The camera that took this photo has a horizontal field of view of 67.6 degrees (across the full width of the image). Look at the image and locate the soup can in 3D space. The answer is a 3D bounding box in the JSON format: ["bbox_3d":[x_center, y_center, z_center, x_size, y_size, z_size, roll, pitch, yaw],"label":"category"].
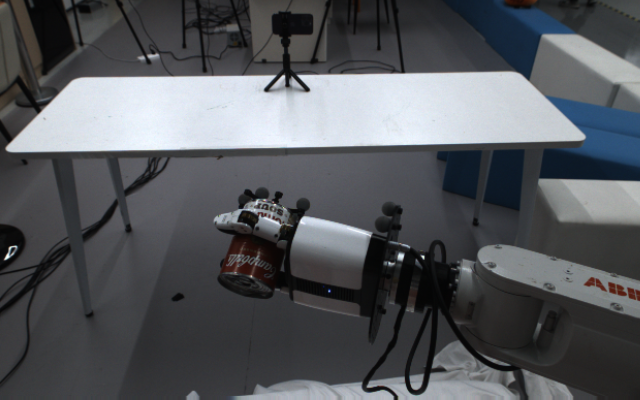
[{"bbox_3d":[-0.073,0.058,0.576,0.067,0.067,0.101,9,58,10],"label":"soup can"}]
